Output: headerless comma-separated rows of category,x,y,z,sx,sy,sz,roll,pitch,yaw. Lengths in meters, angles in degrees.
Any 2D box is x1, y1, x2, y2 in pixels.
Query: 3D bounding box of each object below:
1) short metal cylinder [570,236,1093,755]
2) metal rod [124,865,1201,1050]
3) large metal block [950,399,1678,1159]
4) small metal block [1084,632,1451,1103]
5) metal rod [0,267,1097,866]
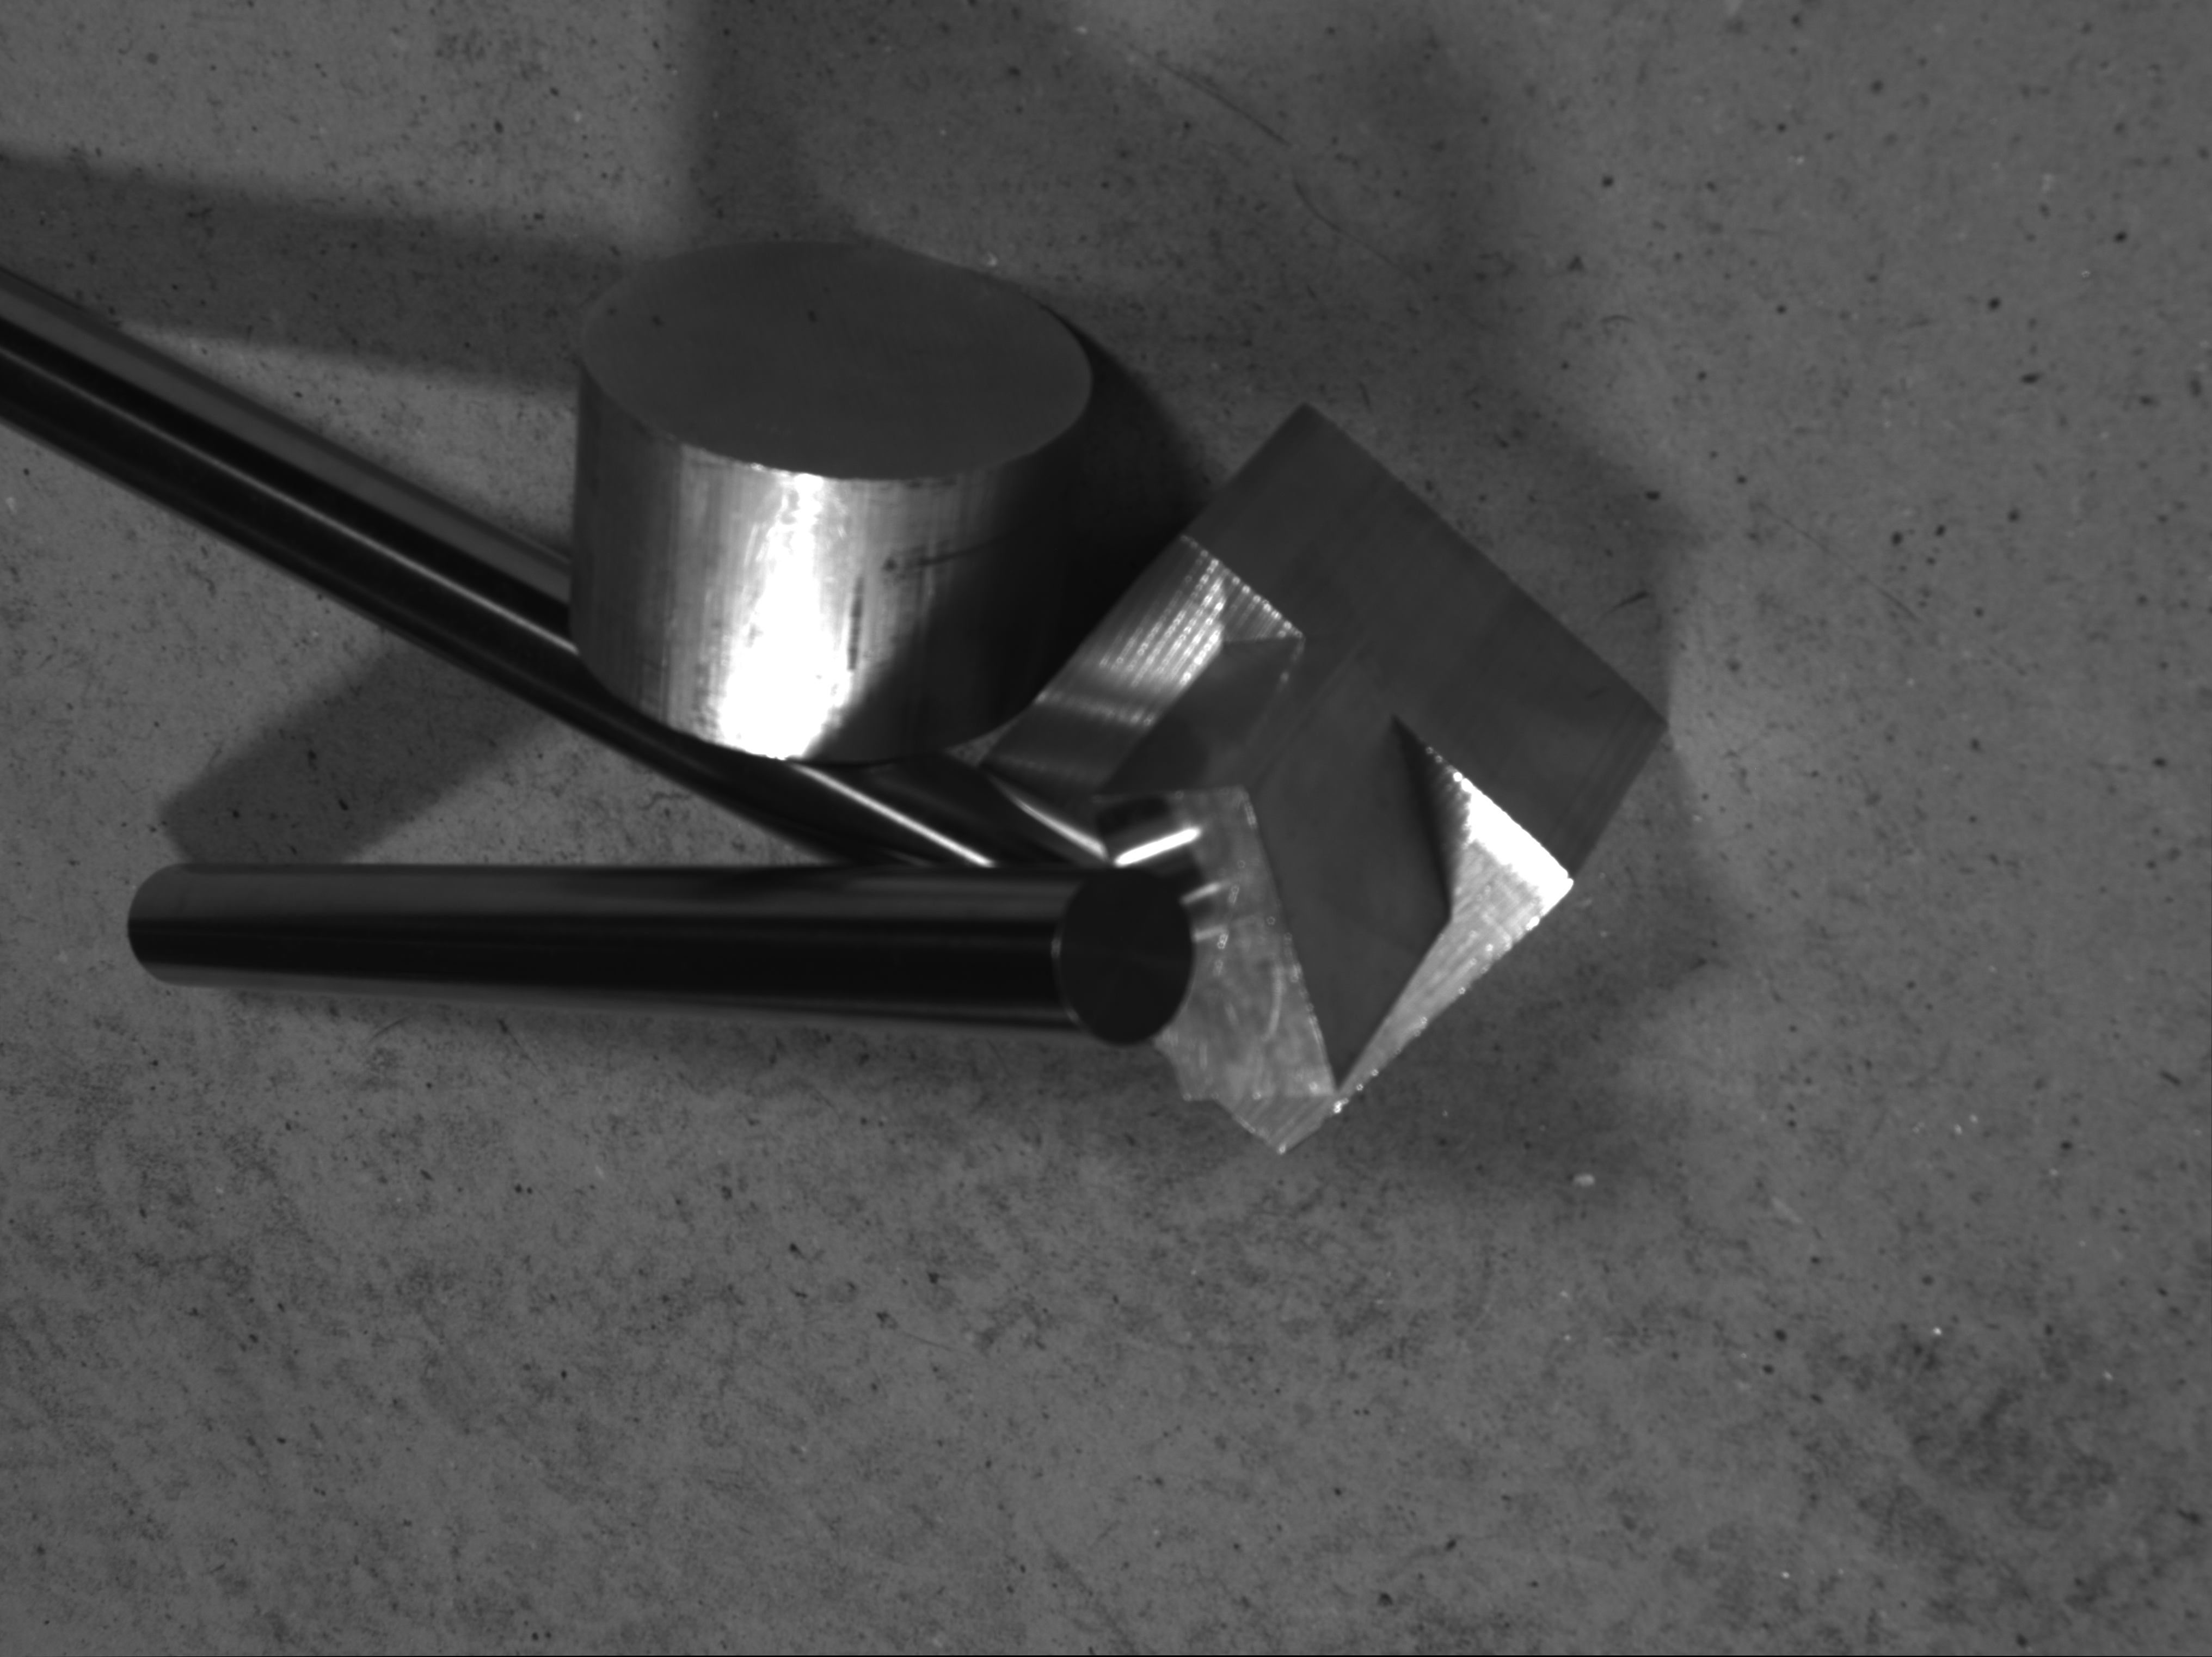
short metal cylinder,-0.045,-0.055,0.587,0.080,0.080,0.050,19,125,16
metal rod,-0.091,0.019,0.621,0.299,0.025,0.025,-1,120,51
large metal block,0.031,-0.007,0.594,0.080,0.050,0.080,42,129,-1
small metal block,0.025,0.006,0.539,0.025,0.050,0.050,-4,117,29
metal rod,-0.116,-0.046,0.625,0.299,0.025,0.025,26,128,25
